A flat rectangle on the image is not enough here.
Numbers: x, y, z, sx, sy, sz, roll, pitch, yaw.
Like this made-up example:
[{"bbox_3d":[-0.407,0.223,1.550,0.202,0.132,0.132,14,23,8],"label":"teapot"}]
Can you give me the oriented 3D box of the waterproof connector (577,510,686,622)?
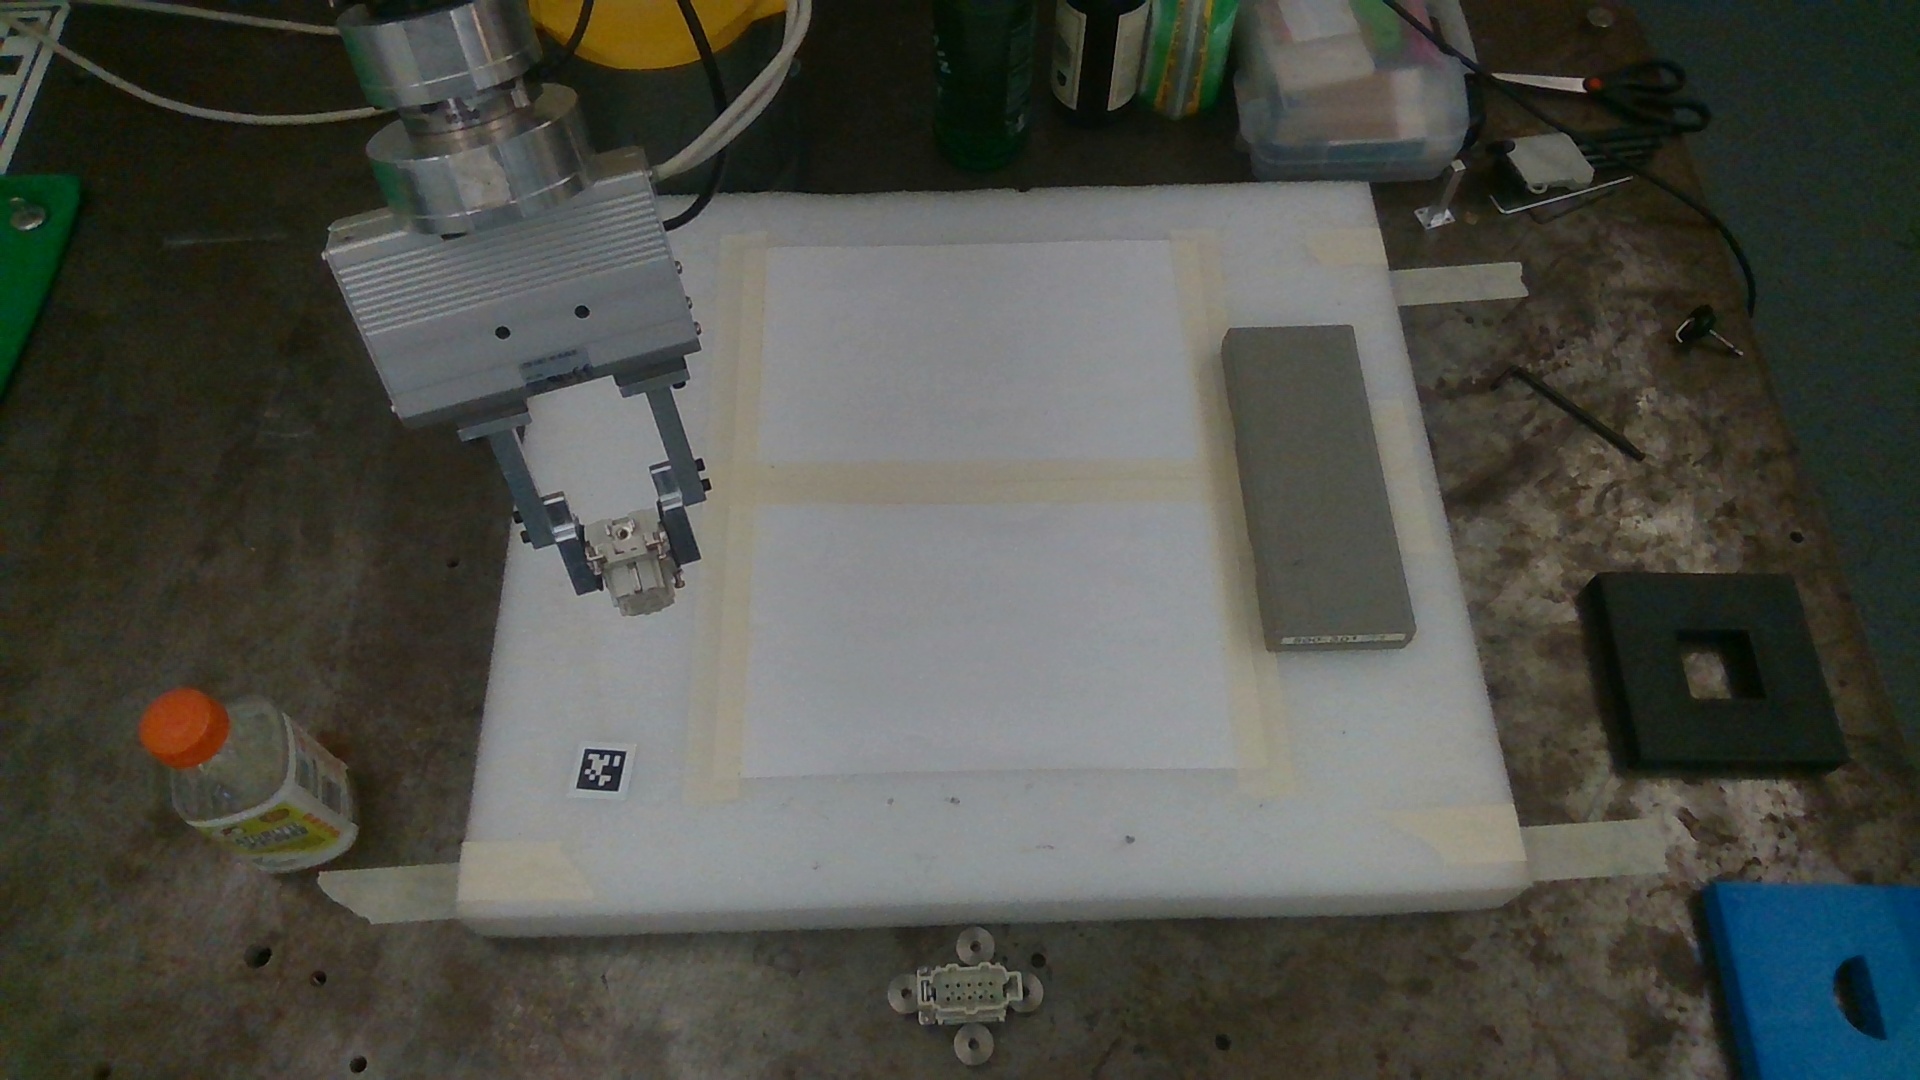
[{"bbox_3d":[-0.146,0.013,0.620,0.037,0.069,0.038,-15,78,-4],"label":"waterproof connector"}]
